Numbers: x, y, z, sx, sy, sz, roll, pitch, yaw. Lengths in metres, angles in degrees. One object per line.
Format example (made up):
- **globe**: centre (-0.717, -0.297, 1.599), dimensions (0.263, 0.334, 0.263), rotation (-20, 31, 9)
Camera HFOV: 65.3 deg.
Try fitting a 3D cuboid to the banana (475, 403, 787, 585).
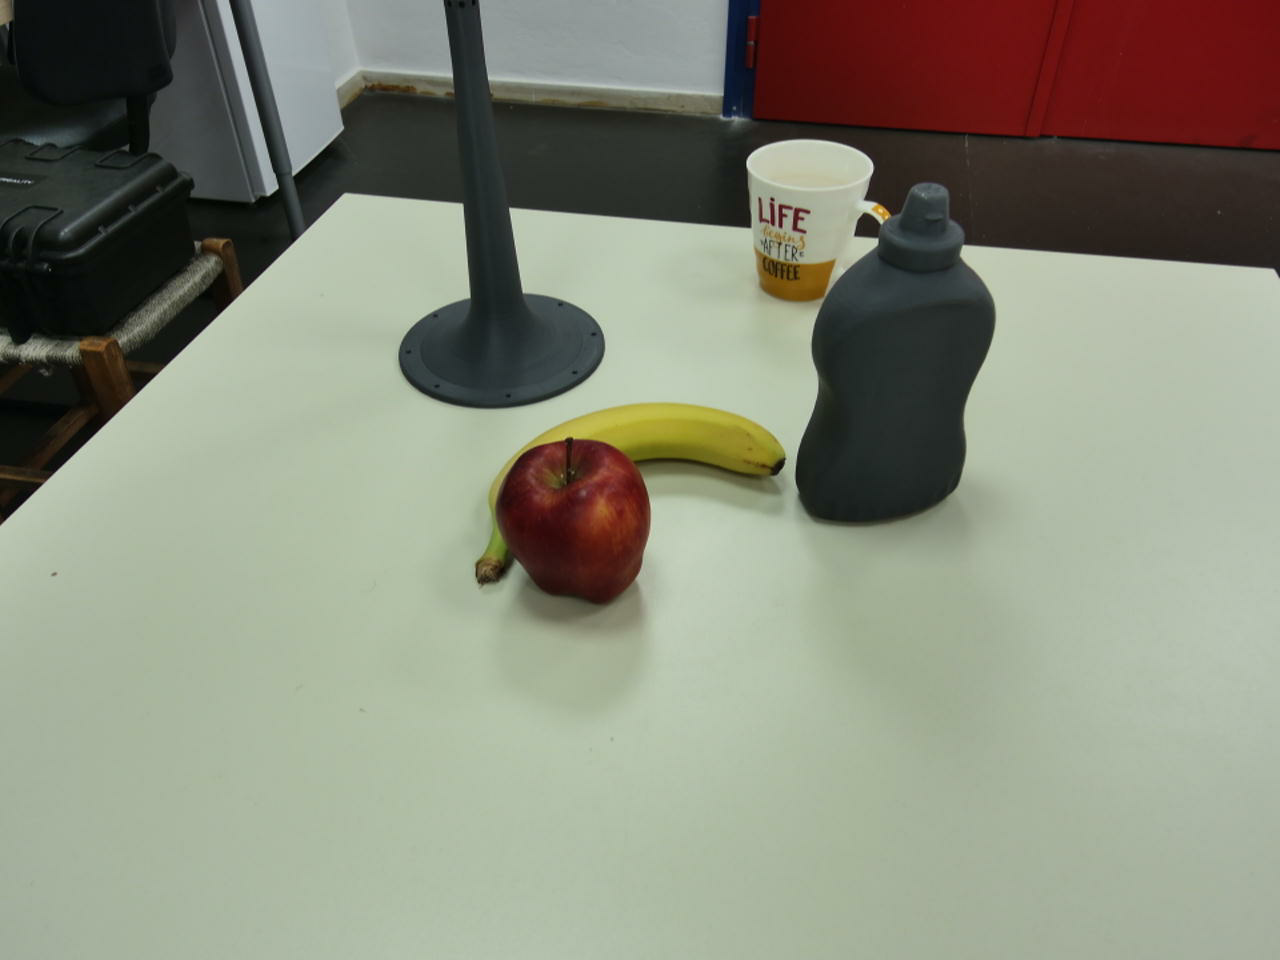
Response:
- **banana**: centre (-0.017, -0.007, 0.601), dimensions (0.196, 0.041, 0.094), rotation (-16, 41, -18)
